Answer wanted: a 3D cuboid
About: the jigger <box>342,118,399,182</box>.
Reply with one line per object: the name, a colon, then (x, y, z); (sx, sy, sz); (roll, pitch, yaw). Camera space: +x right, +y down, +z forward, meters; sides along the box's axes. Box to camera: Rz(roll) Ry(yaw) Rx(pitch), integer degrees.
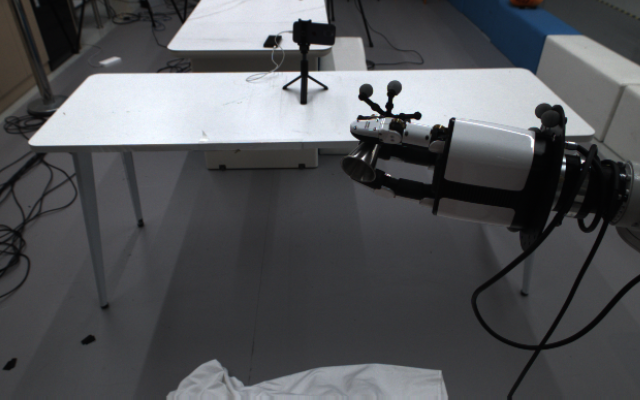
jigger: (0.057, -0.064, 0.555); (0.043, 0.043, 0.071); (19, 61, 23)
